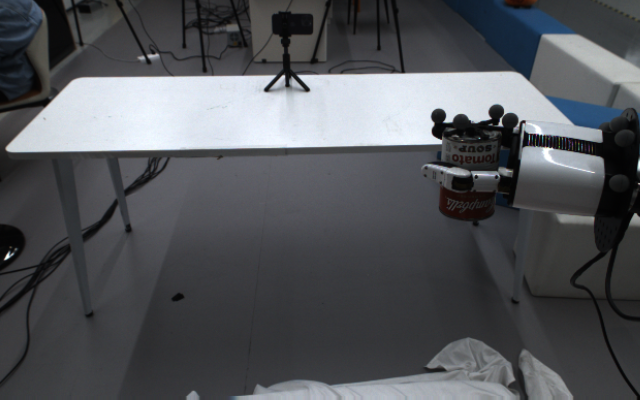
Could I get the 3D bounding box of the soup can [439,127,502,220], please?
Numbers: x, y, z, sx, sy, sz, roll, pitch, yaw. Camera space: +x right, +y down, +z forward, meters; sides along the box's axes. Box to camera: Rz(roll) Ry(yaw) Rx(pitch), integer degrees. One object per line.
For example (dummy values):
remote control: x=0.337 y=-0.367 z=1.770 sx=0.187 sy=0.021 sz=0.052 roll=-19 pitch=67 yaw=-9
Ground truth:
soup can: x=0.182 y=-0.035 z=0.584 sx=0.067 sy=0.101 sz=0.067 roll=-3 pitch=26 yaw=2
